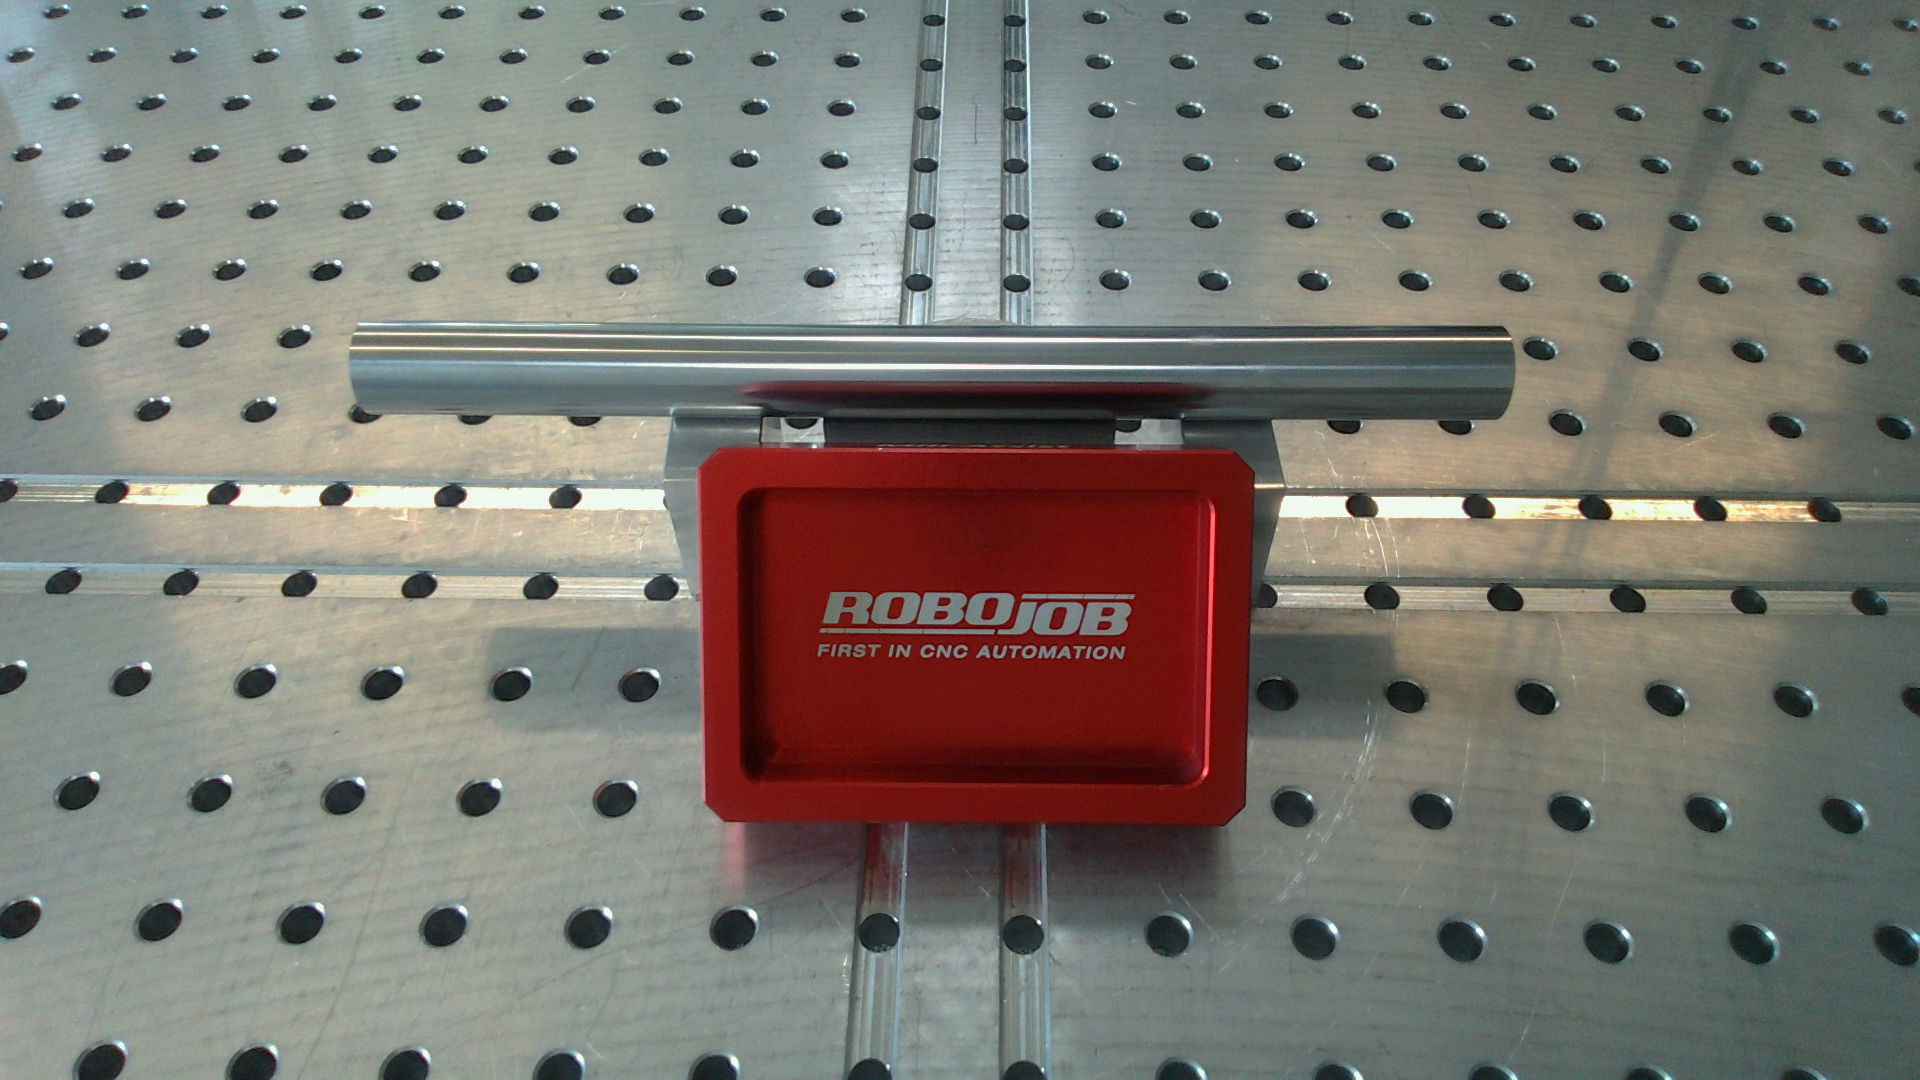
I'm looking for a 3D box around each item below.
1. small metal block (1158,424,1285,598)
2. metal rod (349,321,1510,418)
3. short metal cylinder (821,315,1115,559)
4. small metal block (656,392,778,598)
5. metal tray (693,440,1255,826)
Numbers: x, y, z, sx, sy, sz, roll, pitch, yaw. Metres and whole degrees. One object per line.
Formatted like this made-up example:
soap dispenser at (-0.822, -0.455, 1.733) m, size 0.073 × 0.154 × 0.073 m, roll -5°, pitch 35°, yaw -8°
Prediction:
small metal block at (0.072, -0.016, 0.392) m, size 0.025 × 0.050 × 0.050 m, roll -1°, pitch 50°, yaw 0°
metal rod at (-0.008, -0.046, 0.367) m, size 0.300 × 0.025 × 0.025 m, roll 0°, pitch 50°, yaw 1°
short metal cylinder at (0.002, -0.019, 0.394) m, size 0.080 × 0.050 × 0.080 m, roll 0°, pitch 50°, yaw 0°
small metal block at (-0.067, -0.019, 0.394) m, size 0.025 × 0.050 × 0.050 m, roll -1°, pitch 50°, yaw 0°
metal tray at (0.003, 0.021, 0.337) m, size 0.130 × 0.090 × 0.030 m, roll 0°, pitch 7°, yaw 0°
